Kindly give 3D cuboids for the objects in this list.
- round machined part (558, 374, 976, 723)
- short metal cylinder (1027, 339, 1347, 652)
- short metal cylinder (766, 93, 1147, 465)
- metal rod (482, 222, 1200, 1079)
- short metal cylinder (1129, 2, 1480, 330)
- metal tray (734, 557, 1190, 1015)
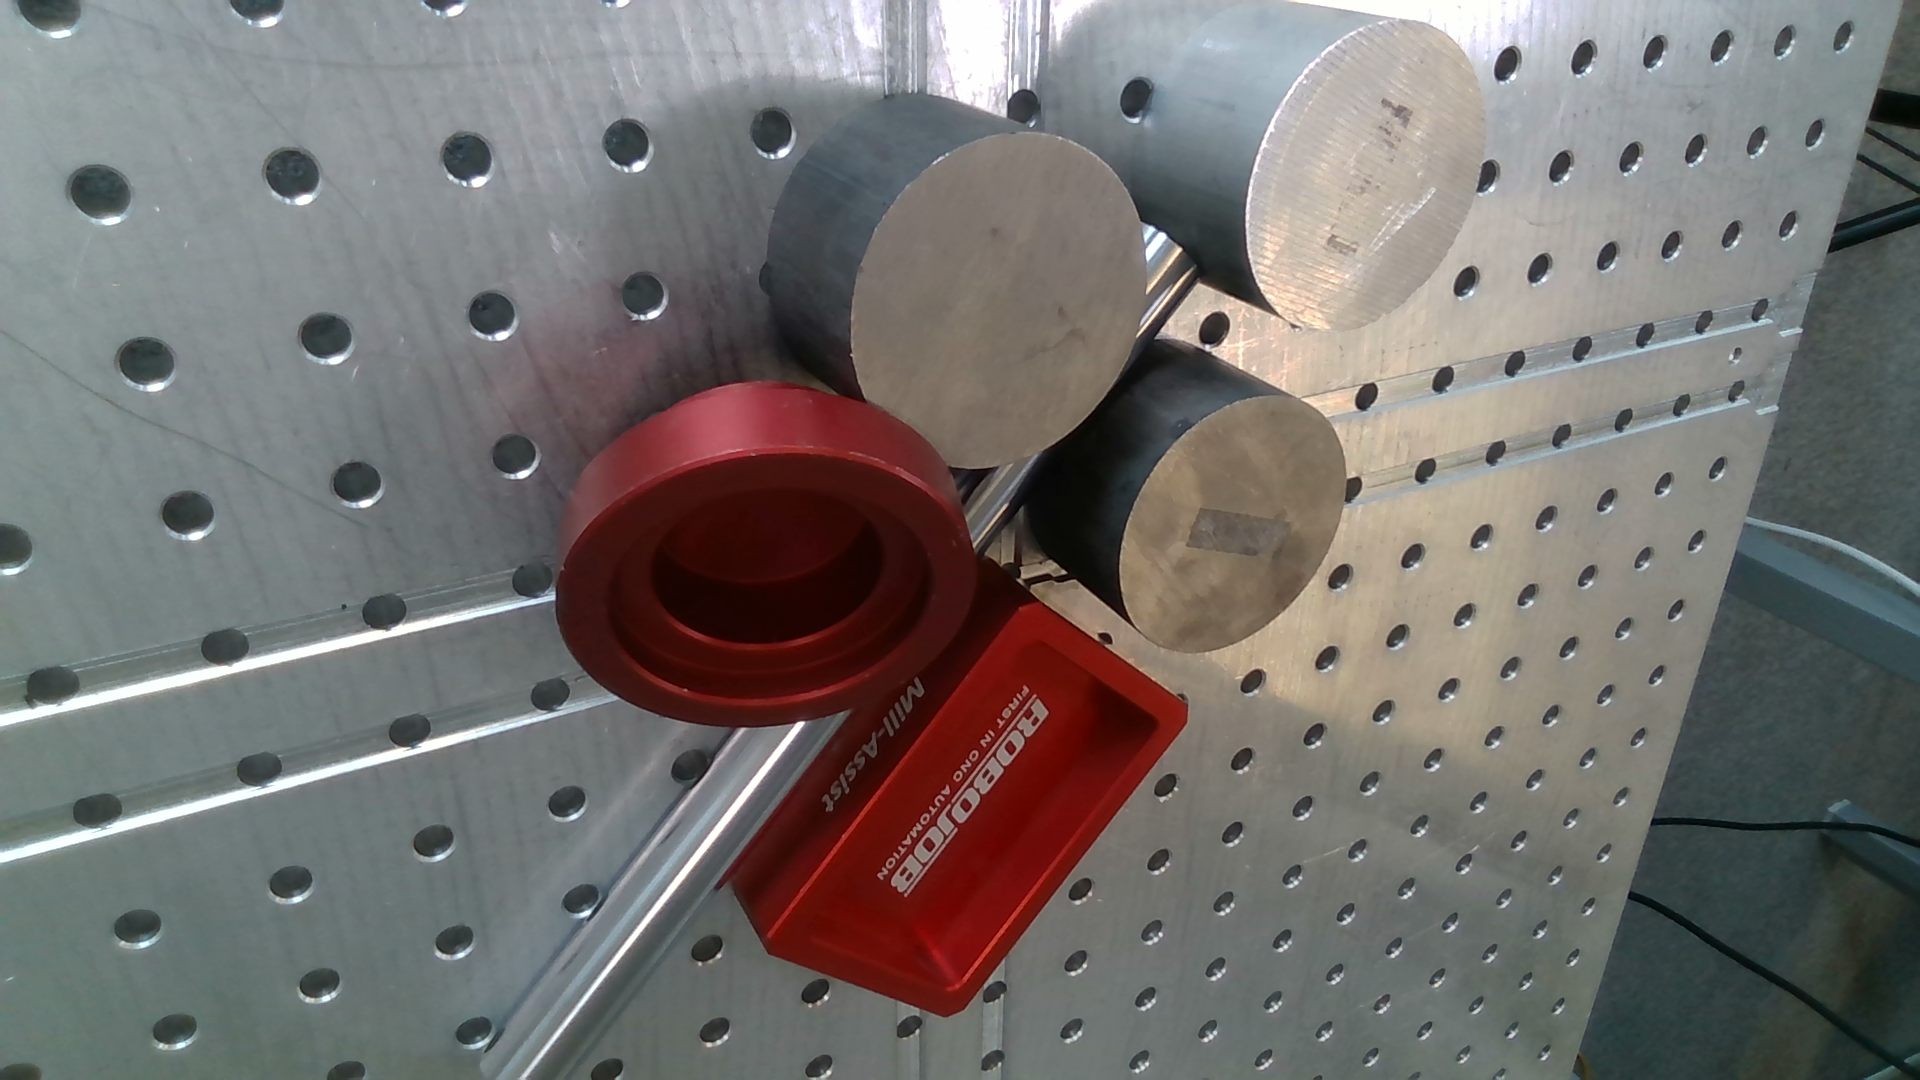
[{"bbox_3d":[-0.048,-0.001,0.338,0.098,0.042,0.098,-9,137,-8],"label":"round machined part"},{"bbox_3d":[0.067,-0.014,0.410,0.080,0.050,0.080,-14,122,-25],"label":"short metal cylinder"},{"bbox_3d":[-0.001,-0.065,0.341,0.080,0.050,0.080,-14,122,-25],"label":"short metal cylinder"},{"bbox_3d":[-0.035,0.036,0.391,0.025,0.025,0.300,36,93,-39],"label":"metal rod"},{"bbox_3d":[0.094,-0.104,0.378,0.080,0.050,0.080,-14,122,-25],"label":"short metal cylinder"},{"bbox_3d":[0.002,0.081,0.434,0.090,0.030,0.130,35,94,-38],"label":"metal tray"}]
